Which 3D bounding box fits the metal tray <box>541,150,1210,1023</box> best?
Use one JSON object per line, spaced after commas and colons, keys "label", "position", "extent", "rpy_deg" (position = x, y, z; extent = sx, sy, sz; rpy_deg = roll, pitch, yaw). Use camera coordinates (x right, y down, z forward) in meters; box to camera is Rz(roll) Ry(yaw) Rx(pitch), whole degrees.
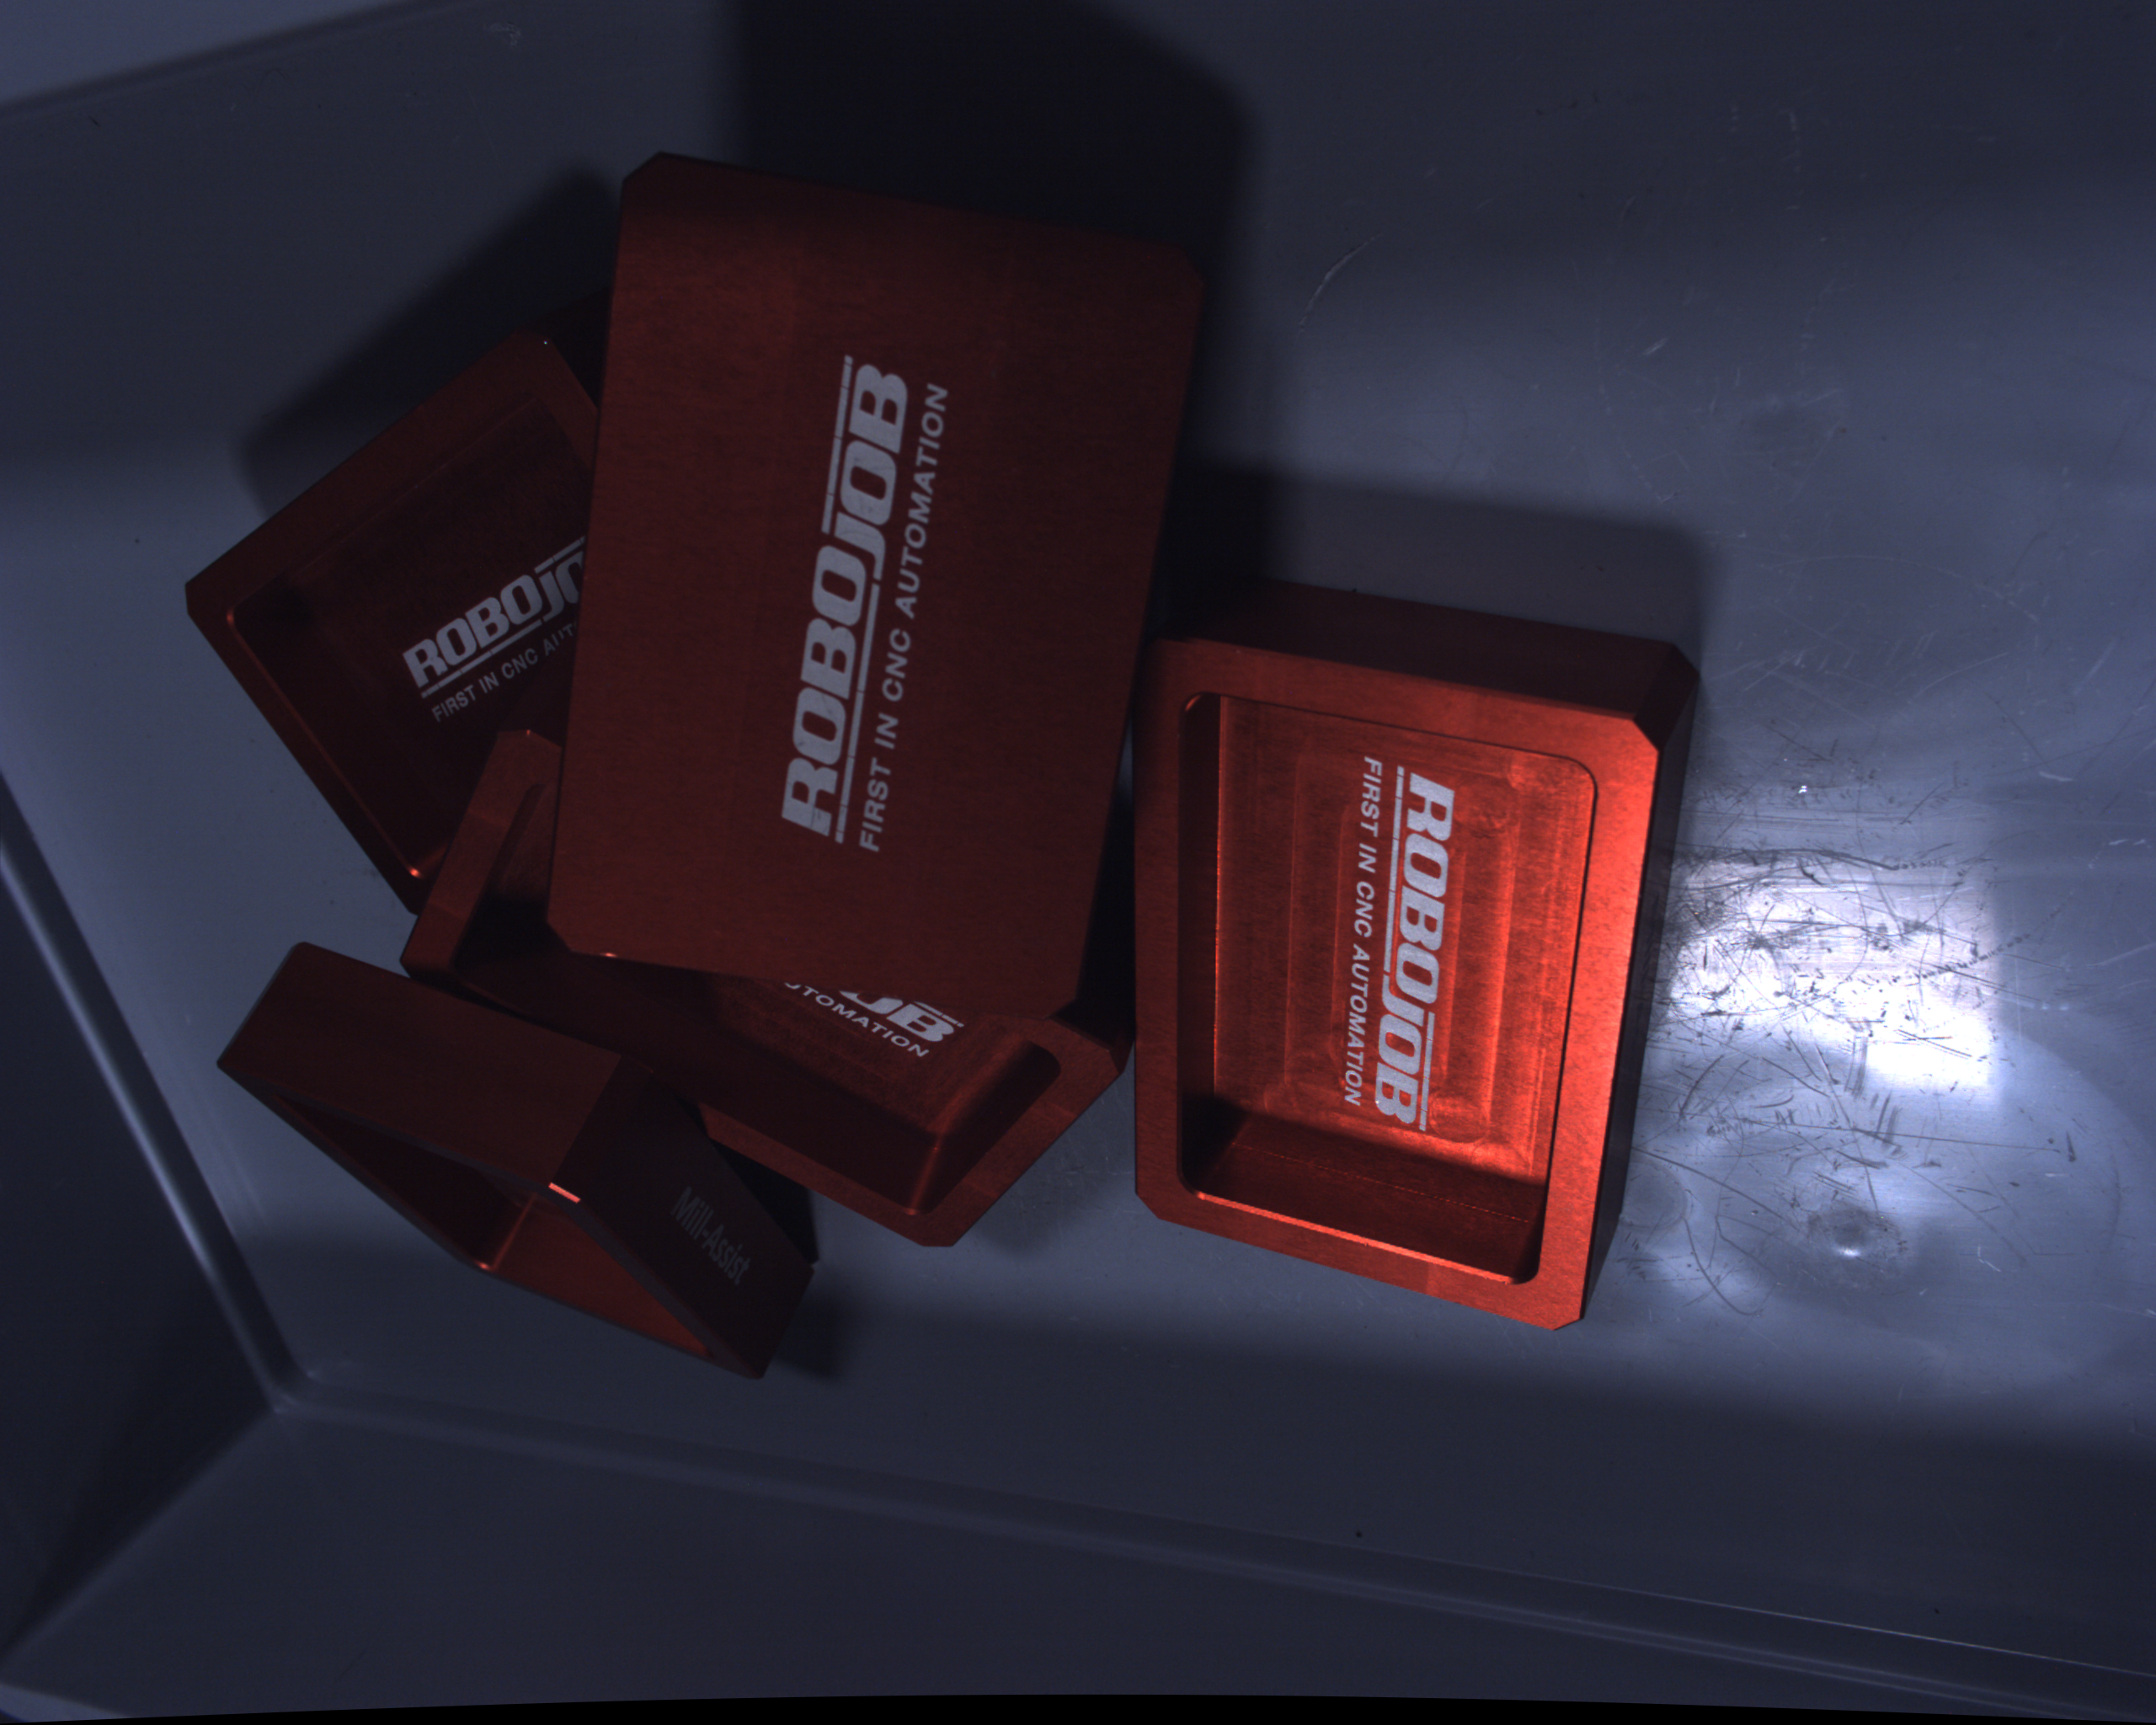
{"label": "metal tray", "position": [-0.035, -0.044, 0.349], "extent": [0.091, 0.030, 0.129], "rpy_deg": [9, 105, -4]}

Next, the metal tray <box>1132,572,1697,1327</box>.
{"label": "metal tray", "position": [0.057, 0.017, 0.383], "extent": [0.090, 0.030, 0.129], "rpy_deg": [12, 124, 21]}

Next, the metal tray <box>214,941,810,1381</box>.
{"label": "metal tray", "position": [-0.122, 0.071, 0.472], "extent": [0.090, 0.030, 0.130], "rpy_deg": [16, 154, 19]}

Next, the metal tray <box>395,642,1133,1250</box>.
{"label": "metal tray", "position": [-0.062, 0.021, 0.420], "extent": [0.131, 0.030, 0.089], "rpy_deg": [29, 137, -10]}

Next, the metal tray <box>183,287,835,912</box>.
{"label": "metal tray", "position": [-0.117, -0.048, 0.433], "extent": [0.130, 0.030, 0.090], "rpy_deg": [-22, 107, 36]}
